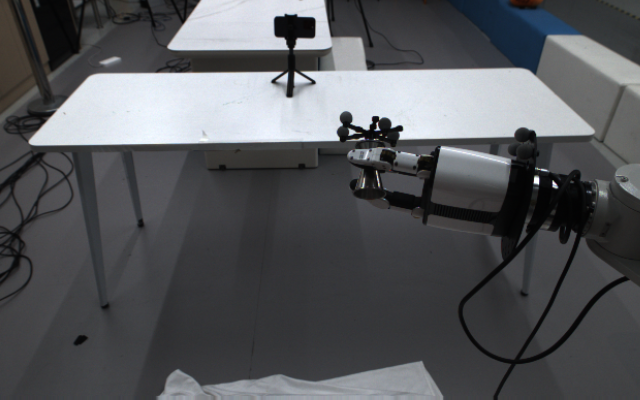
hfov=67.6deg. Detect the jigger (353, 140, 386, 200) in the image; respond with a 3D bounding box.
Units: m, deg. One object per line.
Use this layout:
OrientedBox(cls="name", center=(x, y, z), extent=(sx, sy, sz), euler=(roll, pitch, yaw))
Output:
OrientedBox(cls="jigger", center=(0.063, -0.041, 0.624), extent=(0.043, 0.043, 0.071), euler=(3, 72, 1))
